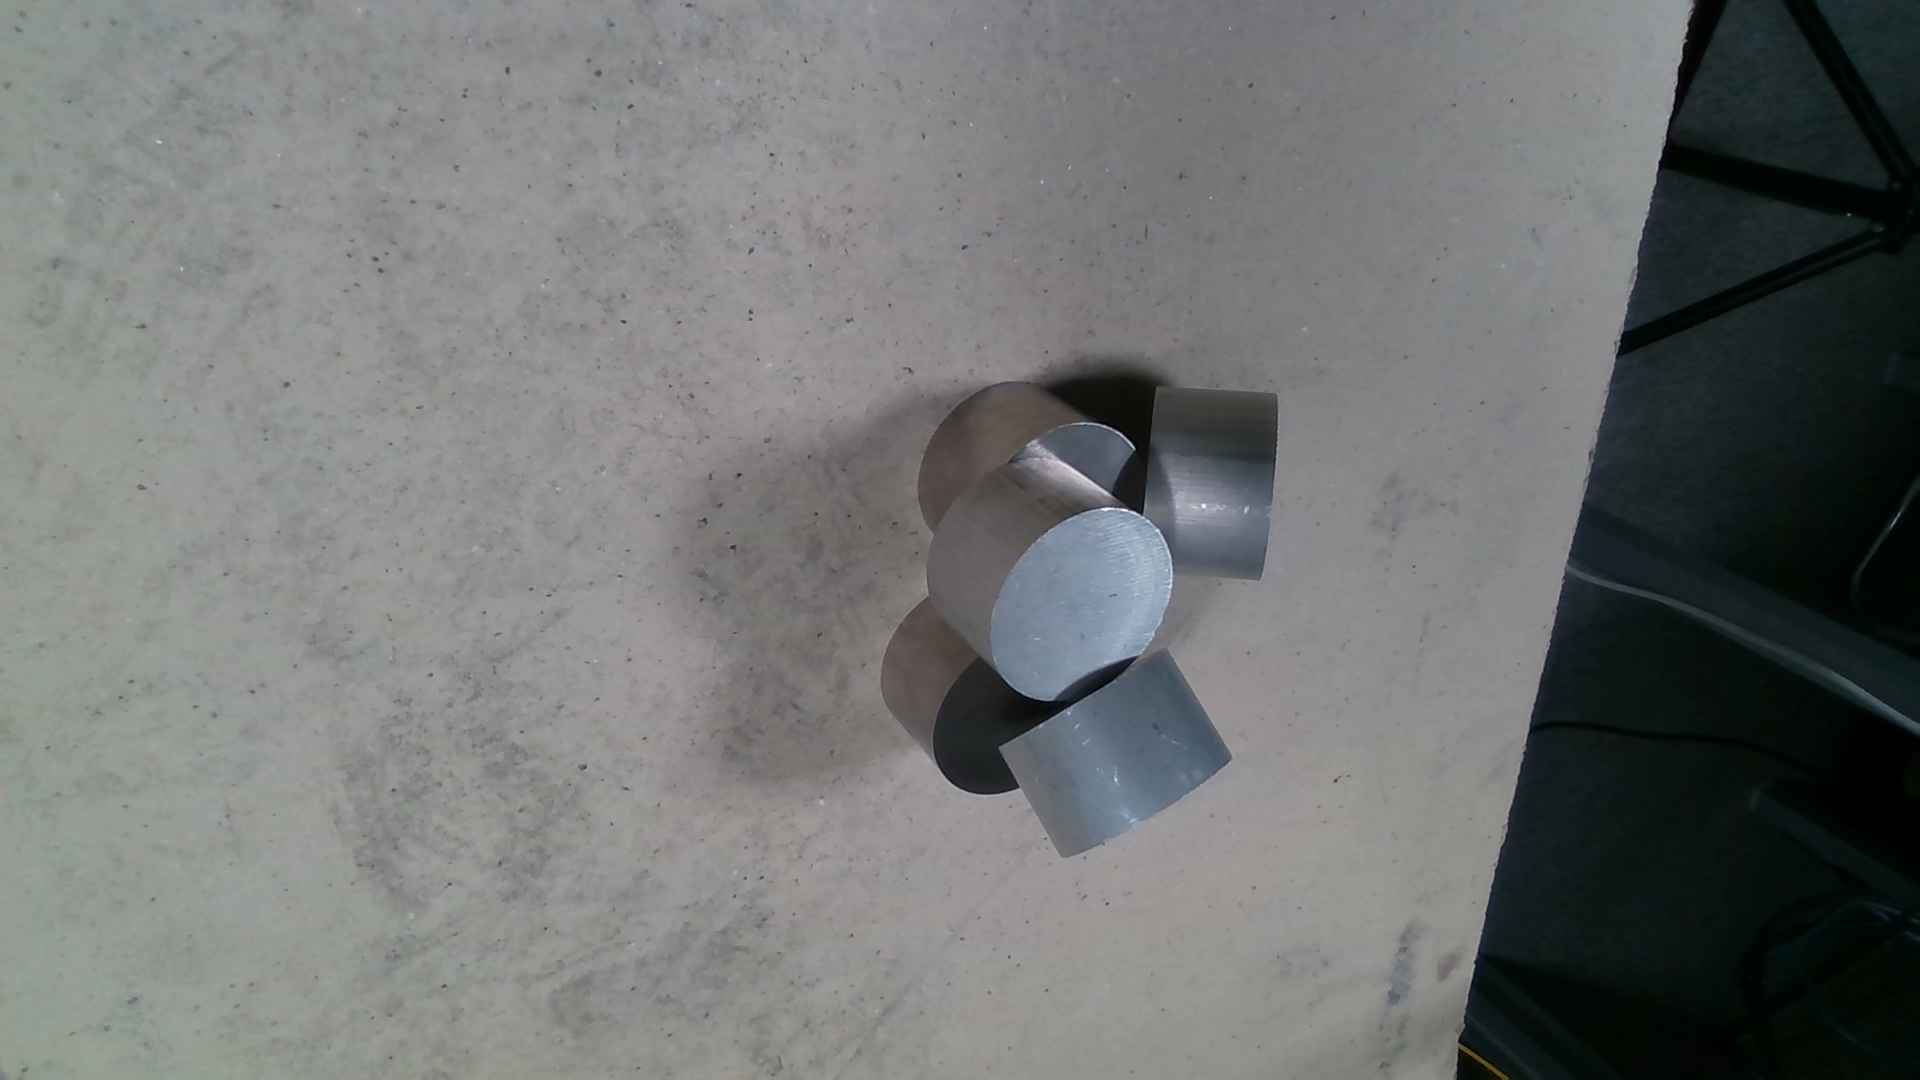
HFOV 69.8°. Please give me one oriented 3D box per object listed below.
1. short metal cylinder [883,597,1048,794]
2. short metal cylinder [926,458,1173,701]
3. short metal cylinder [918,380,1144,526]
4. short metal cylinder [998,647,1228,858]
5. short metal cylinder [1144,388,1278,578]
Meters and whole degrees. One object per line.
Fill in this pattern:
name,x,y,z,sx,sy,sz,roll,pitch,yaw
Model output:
short metal cylinder,0.012,0.064,0.606,0.080,0.050,0.080,-14,122,-25
short metal cylinder,0.034,0.014,0.528,0.080,0.050,0.080,-14,122,-25
short metal cylinder,0.029,-0.020,0.572,0.080,0.050,0.080,-14,122,-25
short metal cylinder,0.062,0.085,0.556,0.080,0.080,0.050,-29,84,-15
short metal cylinder,0.106,-0.025,0.589,0.050,0.080,0.080,5,119,9
